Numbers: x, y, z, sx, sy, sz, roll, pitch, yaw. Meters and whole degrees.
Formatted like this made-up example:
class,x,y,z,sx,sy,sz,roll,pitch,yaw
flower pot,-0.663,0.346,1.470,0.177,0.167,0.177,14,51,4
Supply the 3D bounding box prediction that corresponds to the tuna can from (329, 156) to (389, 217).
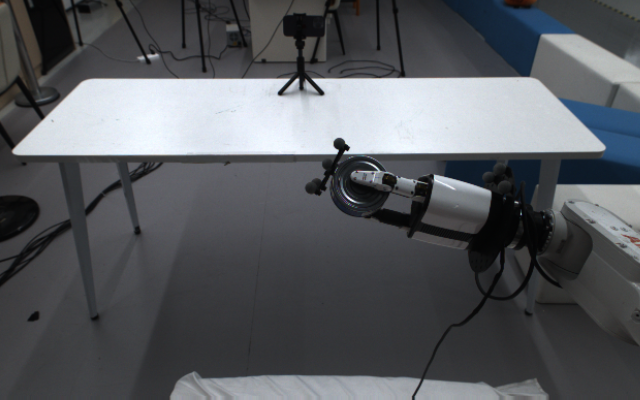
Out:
class,x,y,z,sx,sy,sz,roll,pitch,yaw
tuna can,0.060,-0.022,0.697,0.085,0.034,0.085,1,75,-5
